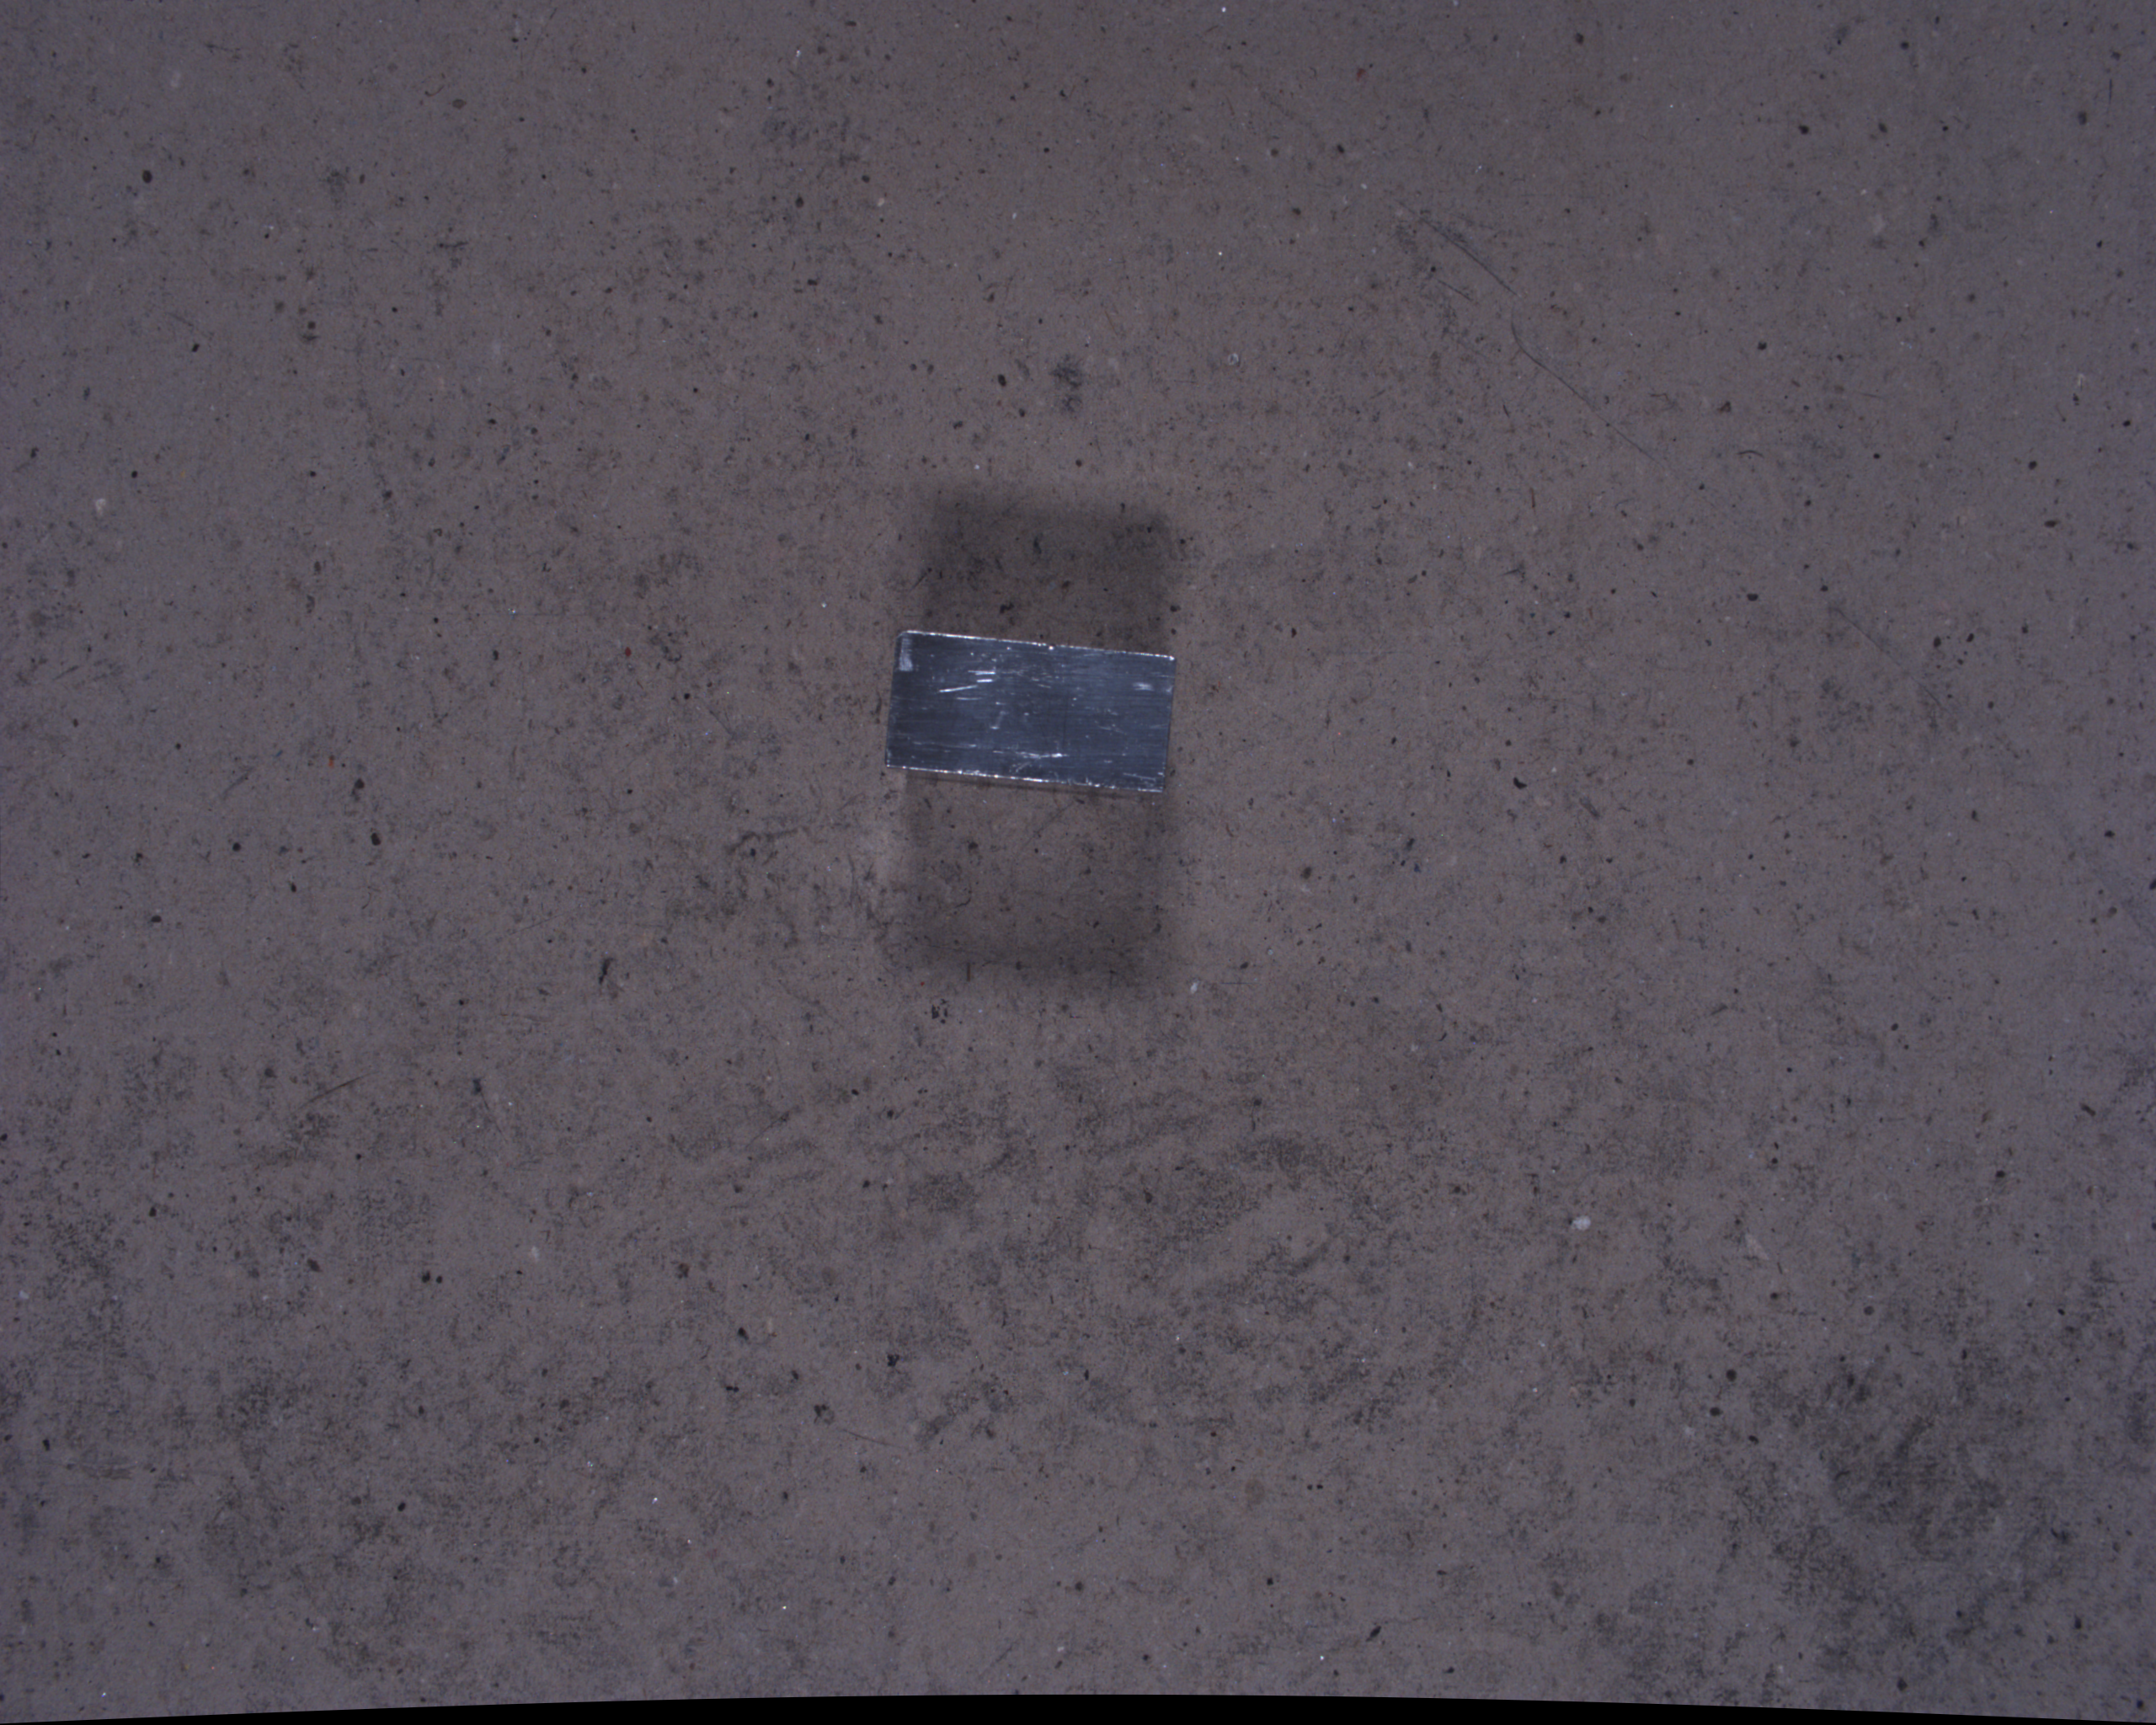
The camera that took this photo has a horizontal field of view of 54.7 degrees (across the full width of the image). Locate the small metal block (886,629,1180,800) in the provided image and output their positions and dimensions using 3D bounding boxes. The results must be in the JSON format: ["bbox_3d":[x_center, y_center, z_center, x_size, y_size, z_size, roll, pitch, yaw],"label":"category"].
[{"bbox_3d":[-0.008,-0.027,0.398,0.050,0.050,0.025,5,90,-1],"label":"small metal block"}]
